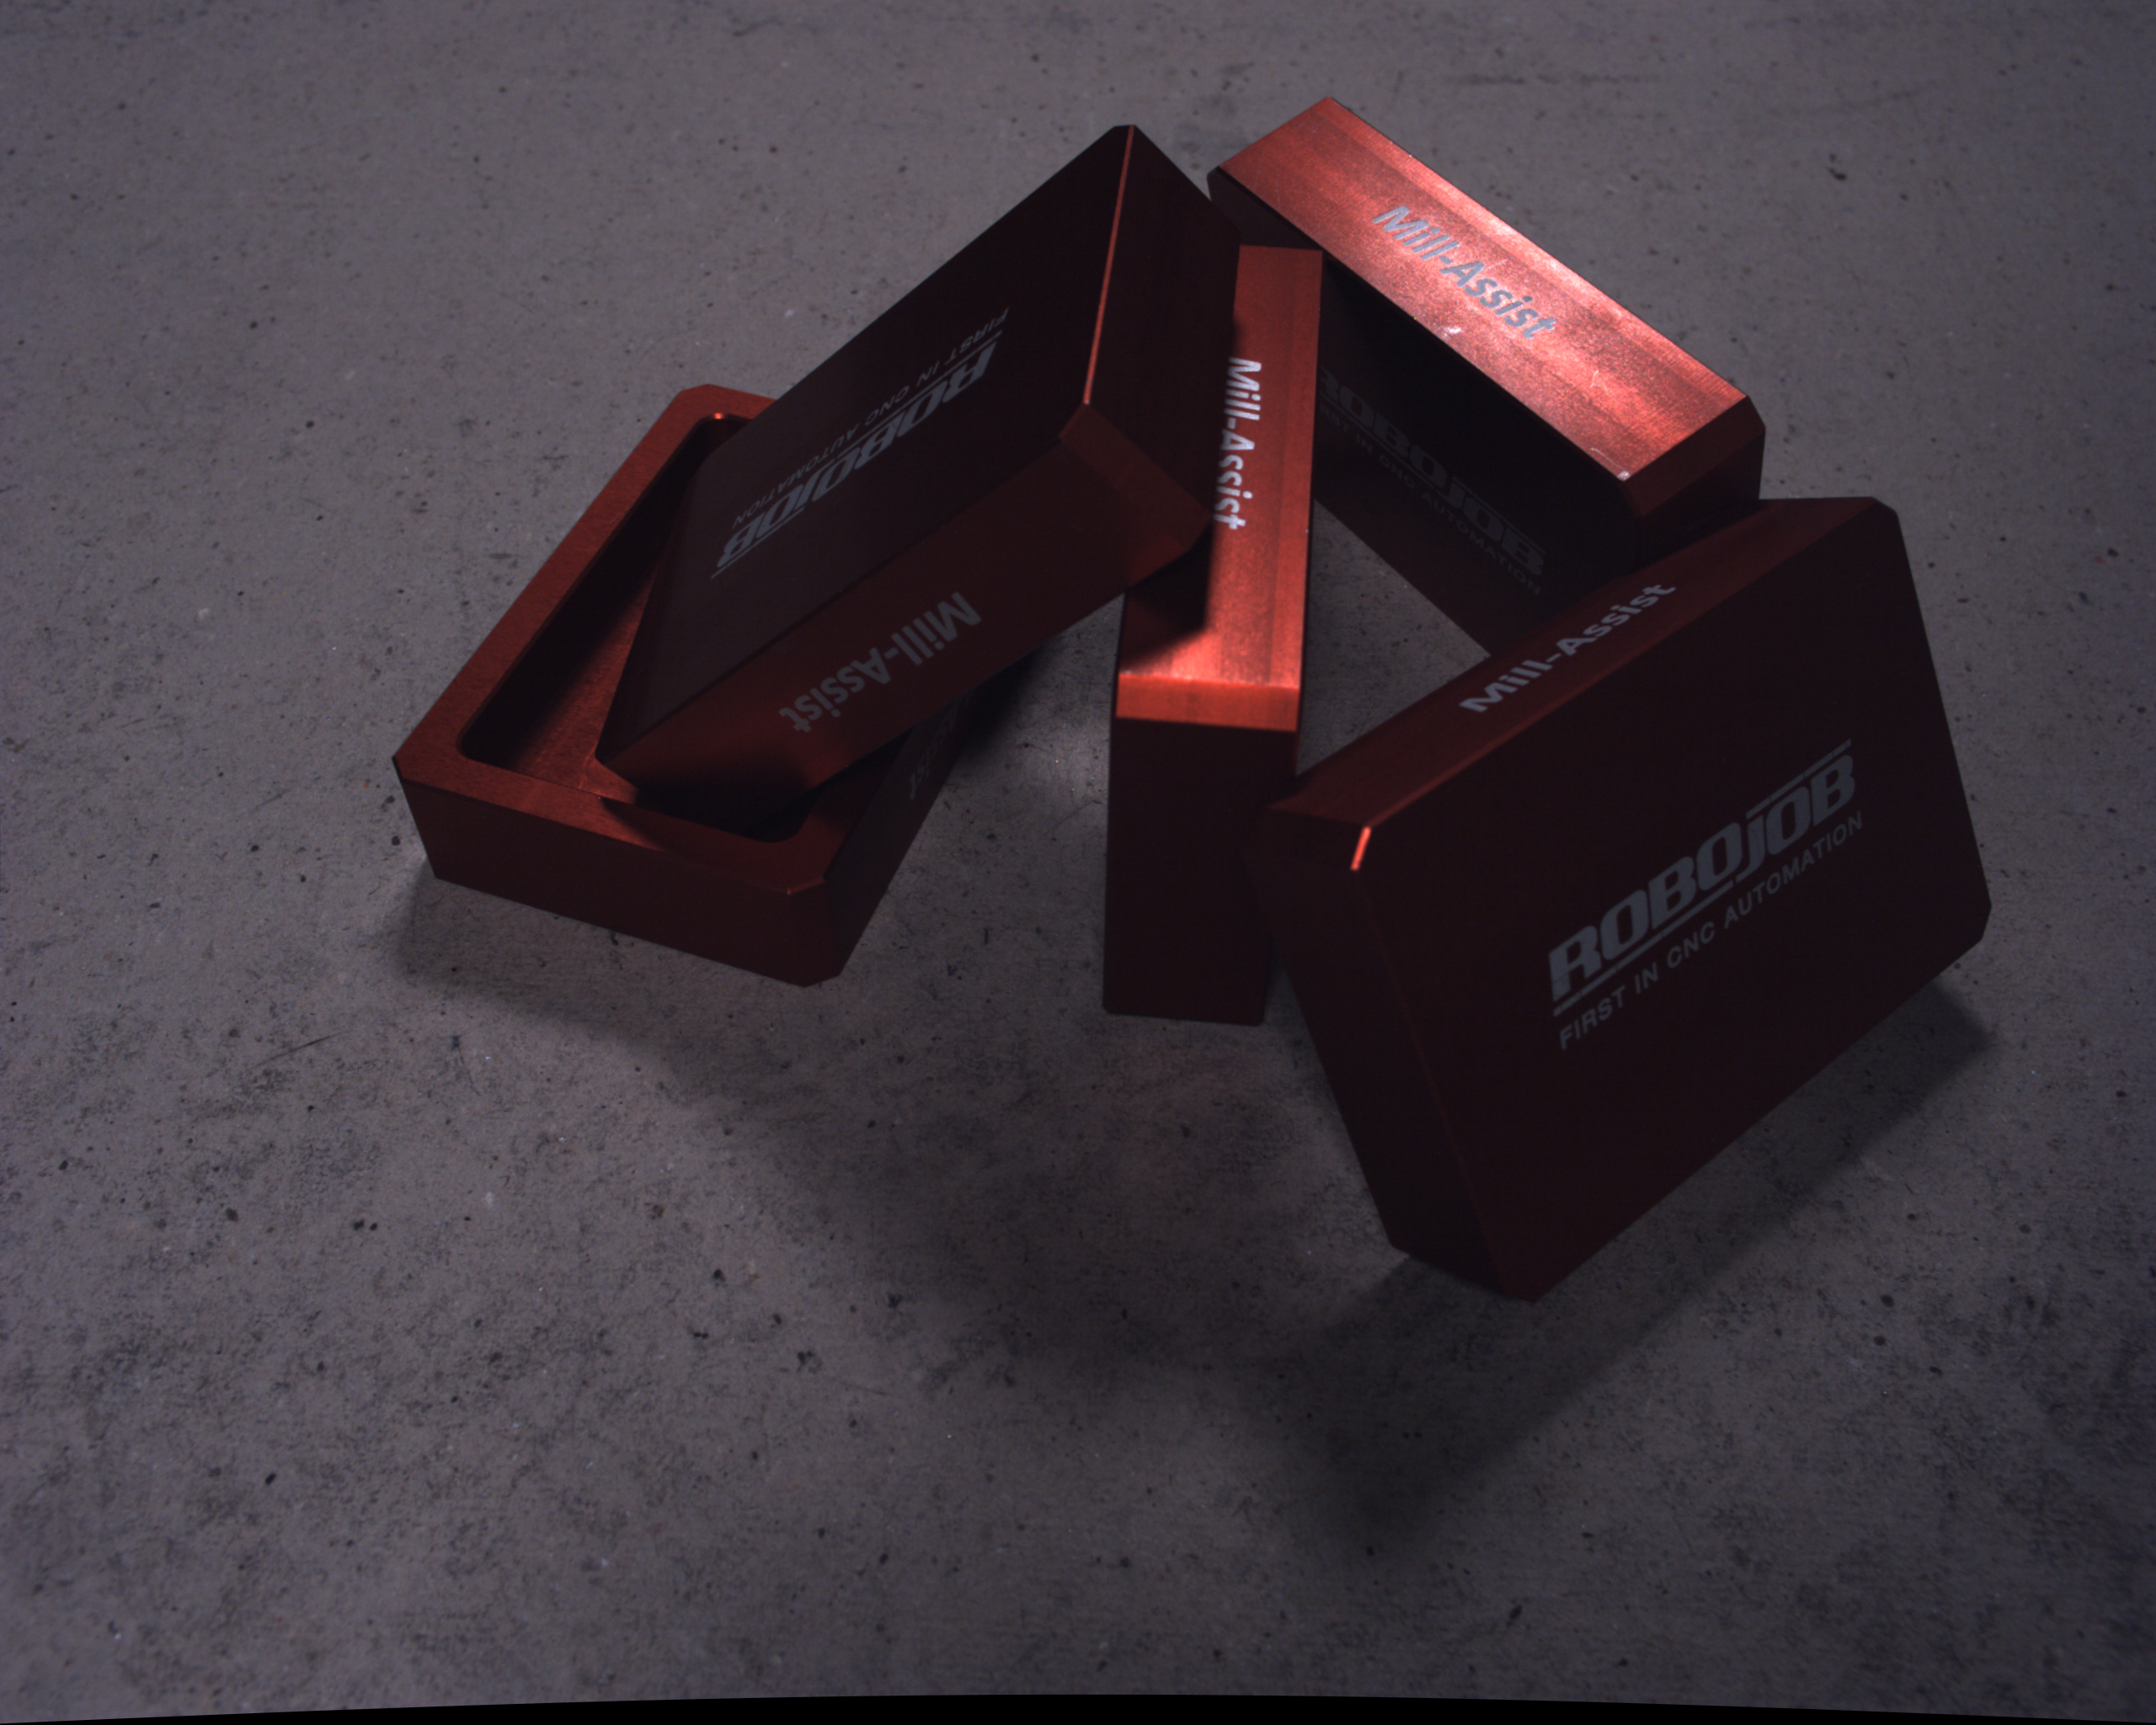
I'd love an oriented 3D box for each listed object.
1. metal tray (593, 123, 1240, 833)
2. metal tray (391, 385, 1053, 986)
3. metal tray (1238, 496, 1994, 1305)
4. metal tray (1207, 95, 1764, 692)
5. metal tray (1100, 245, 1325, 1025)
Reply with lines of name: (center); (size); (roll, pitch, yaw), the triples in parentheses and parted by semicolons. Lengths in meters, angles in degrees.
metal tray: (-0.031, -0.068, 0.388); (0.130, 0.030, 0.090); (-28, 38, 36)
metal tray: (-0.068, -0.042, 0.436); (0.090, 0.030, 0.130); (16, 52, 12)
metal tray: (0.098, 0.003, 0.361); (0.131, 0.090, 0.030); (-32, 22, -24)
metal tray: (0.083, -0.090, 0.436); (0.030, 0.090, 0.130); (-35, 57, -9)
metal tray: (0.026, -0.046, 0.401); (0.030, 0.089, 0.130); (5, 51, 4)
